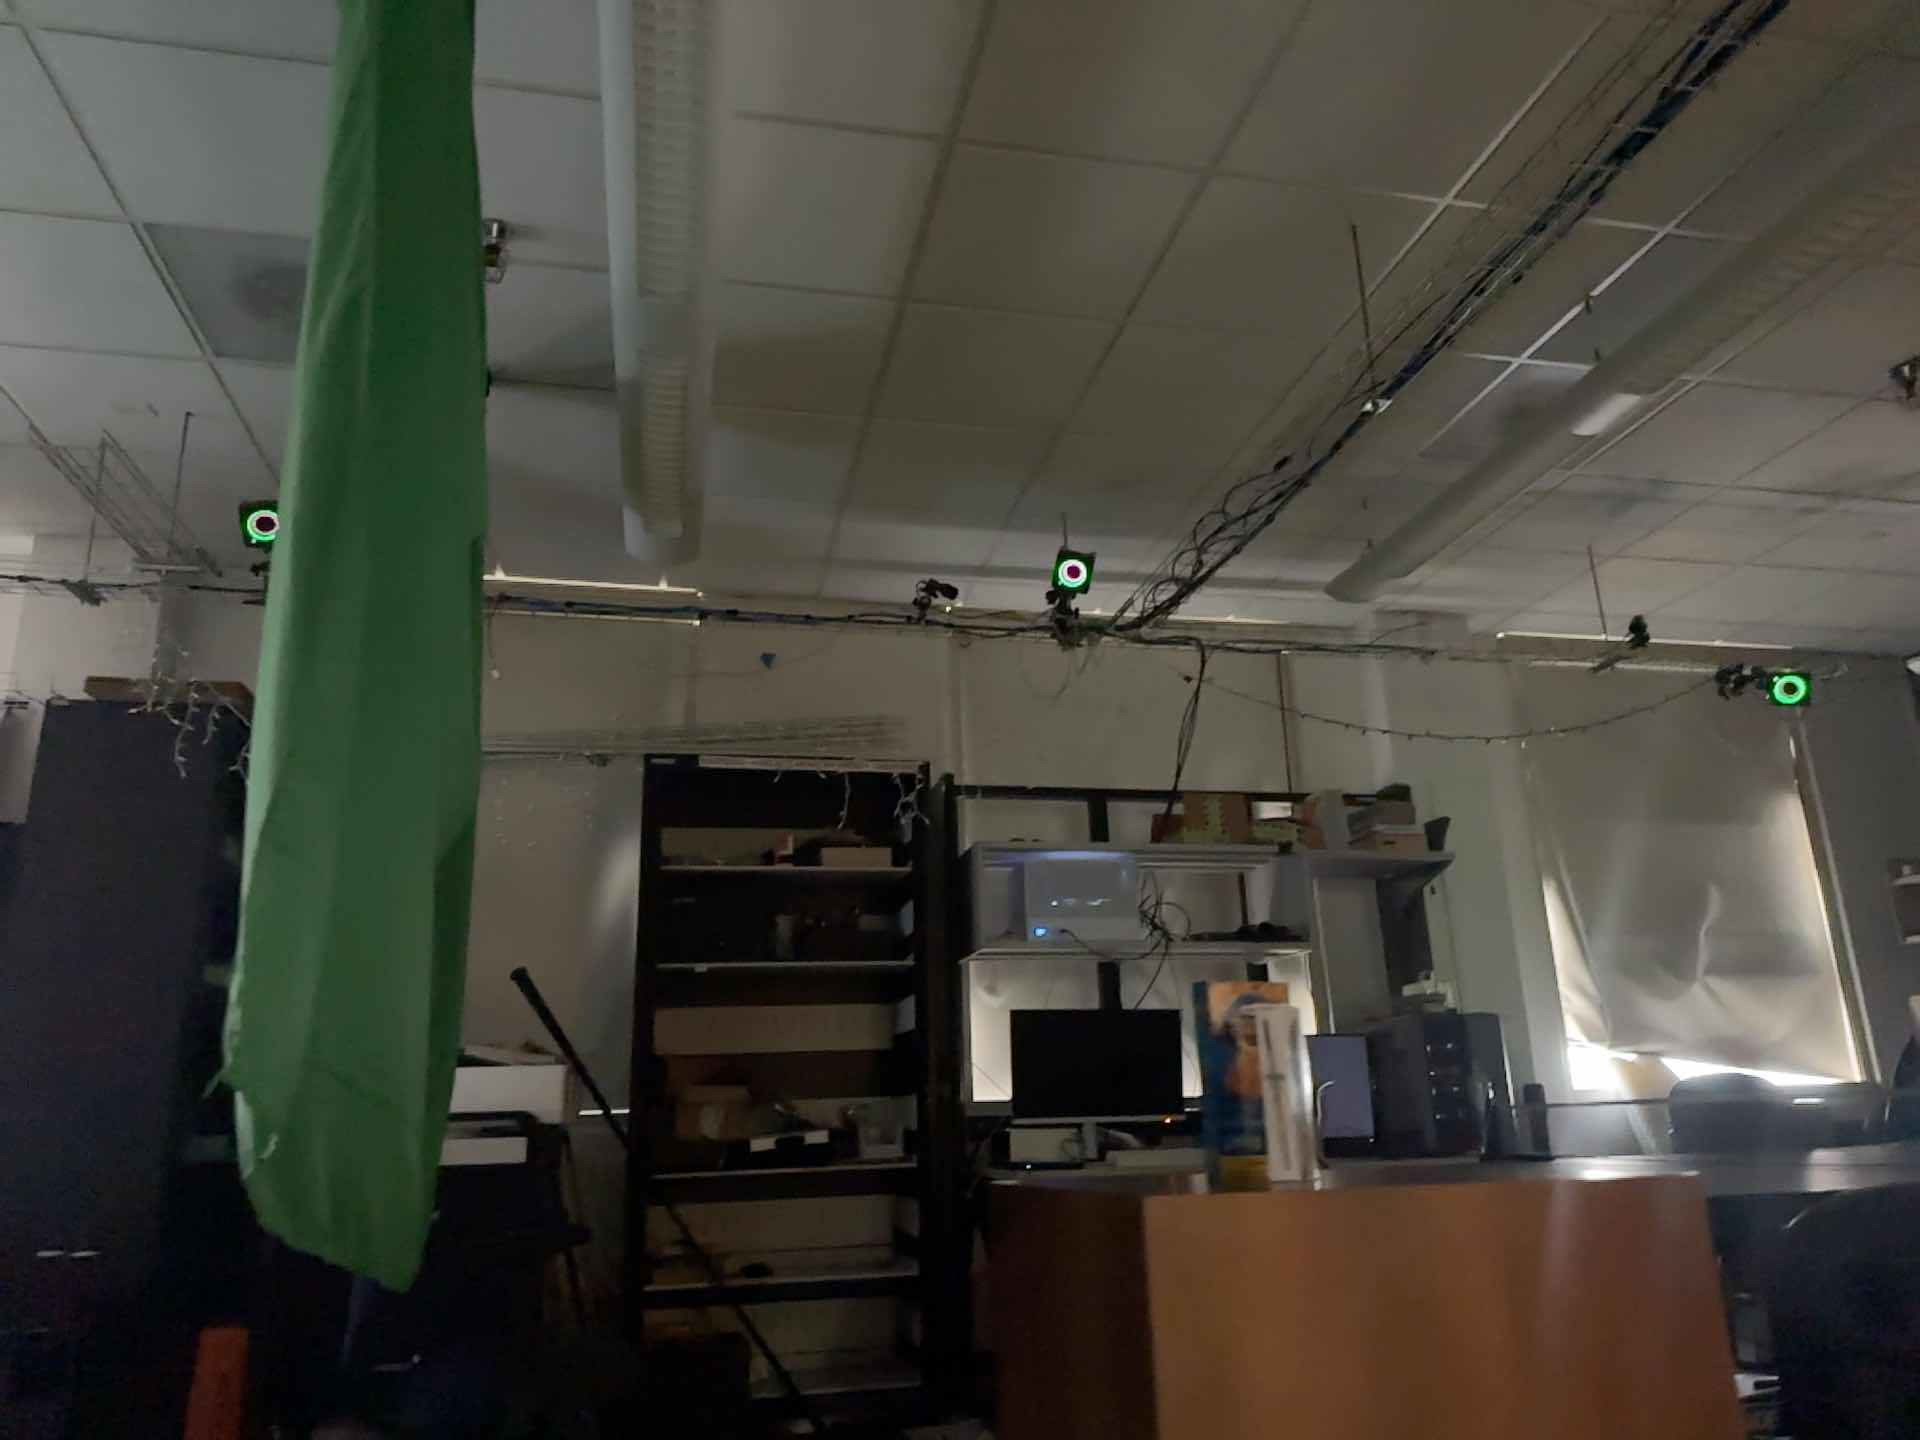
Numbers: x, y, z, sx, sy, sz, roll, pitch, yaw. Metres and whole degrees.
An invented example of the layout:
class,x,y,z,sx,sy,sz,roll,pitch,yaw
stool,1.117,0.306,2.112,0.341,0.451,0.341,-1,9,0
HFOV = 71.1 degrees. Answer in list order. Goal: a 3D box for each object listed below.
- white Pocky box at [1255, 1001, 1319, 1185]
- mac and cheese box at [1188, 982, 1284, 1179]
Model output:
class,x,y,z,sx,sy,sz,roll,pitch,yaw
white Pocky box,0.292,0.332,1.199,0.028,0.154,0.084,-9,-18,26
mac and cheese box,0.279,0.353,1.324,0.088,0.181,0.035,4,-18,-19
